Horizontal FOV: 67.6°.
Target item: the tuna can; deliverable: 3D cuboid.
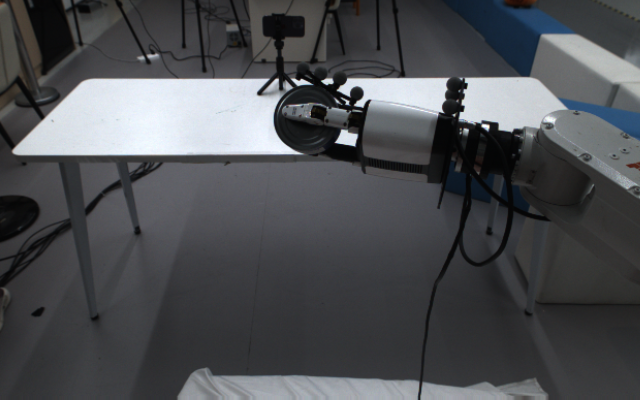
[{"bbox_3d":[-0.014,-0.103,0.629,0.085,0.085,0.034,9,-5,10],"label":"tuna can"}]
